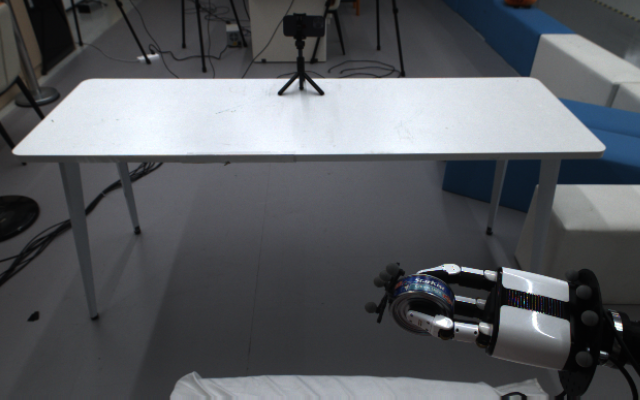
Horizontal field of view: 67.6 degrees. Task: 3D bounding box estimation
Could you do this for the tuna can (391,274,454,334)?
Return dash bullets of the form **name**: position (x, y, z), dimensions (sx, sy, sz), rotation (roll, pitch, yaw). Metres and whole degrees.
- **tuna can**: position (0.140, 0.139, 0.649), dimensions (0.085, 0.085, 0.034), rotation (9, 34, 9)
